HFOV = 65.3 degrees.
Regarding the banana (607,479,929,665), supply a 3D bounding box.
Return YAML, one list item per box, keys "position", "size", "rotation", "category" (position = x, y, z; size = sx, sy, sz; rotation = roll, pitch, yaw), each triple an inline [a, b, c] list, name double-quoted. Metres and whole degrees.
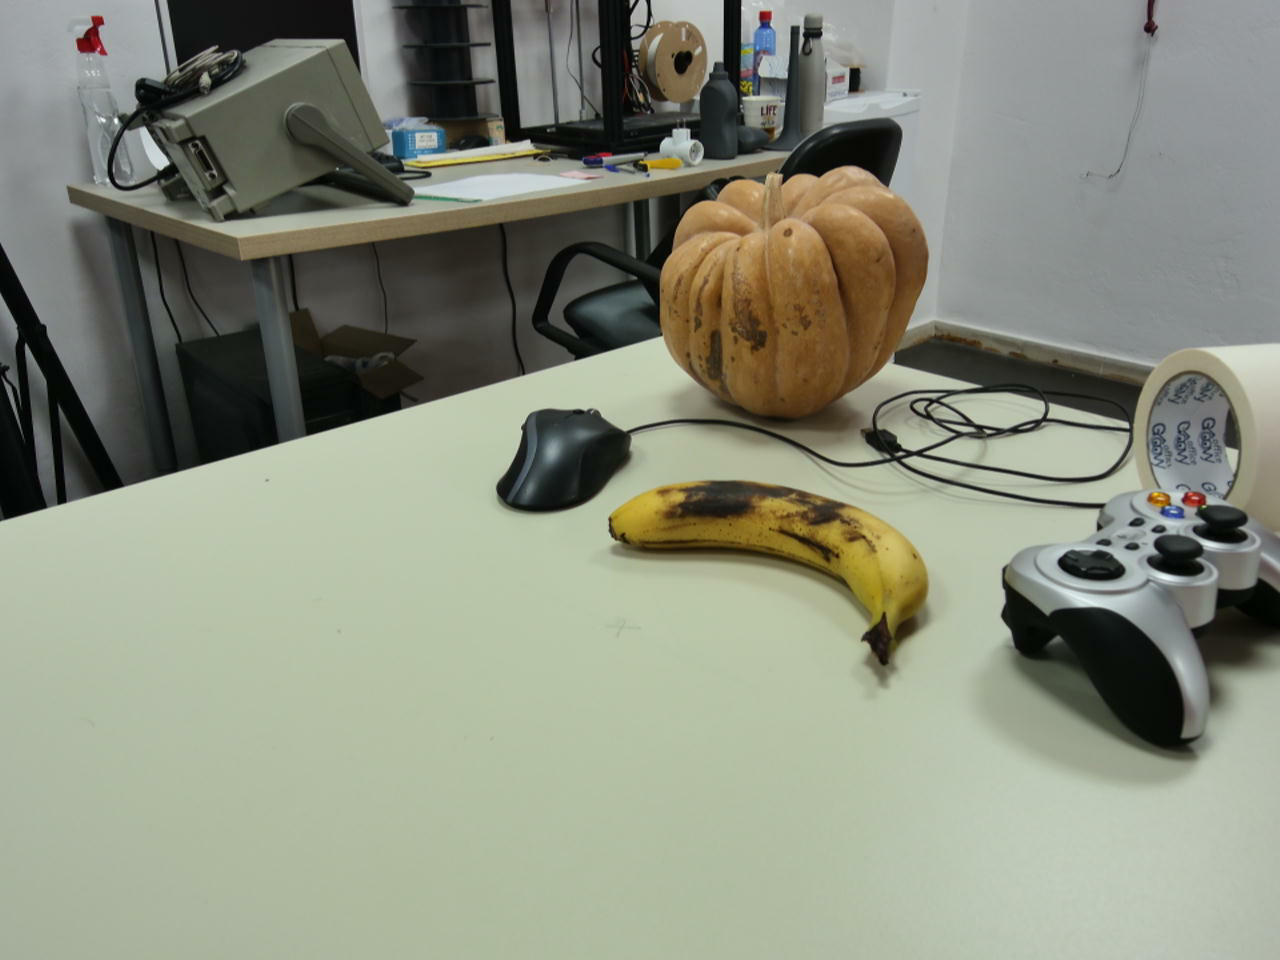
- position: [0.076, 0.035, 0.534]
  size: [0.094, 0.039, 0.187]
  rotation: [-21, 30, -39]
  category: "banana"
